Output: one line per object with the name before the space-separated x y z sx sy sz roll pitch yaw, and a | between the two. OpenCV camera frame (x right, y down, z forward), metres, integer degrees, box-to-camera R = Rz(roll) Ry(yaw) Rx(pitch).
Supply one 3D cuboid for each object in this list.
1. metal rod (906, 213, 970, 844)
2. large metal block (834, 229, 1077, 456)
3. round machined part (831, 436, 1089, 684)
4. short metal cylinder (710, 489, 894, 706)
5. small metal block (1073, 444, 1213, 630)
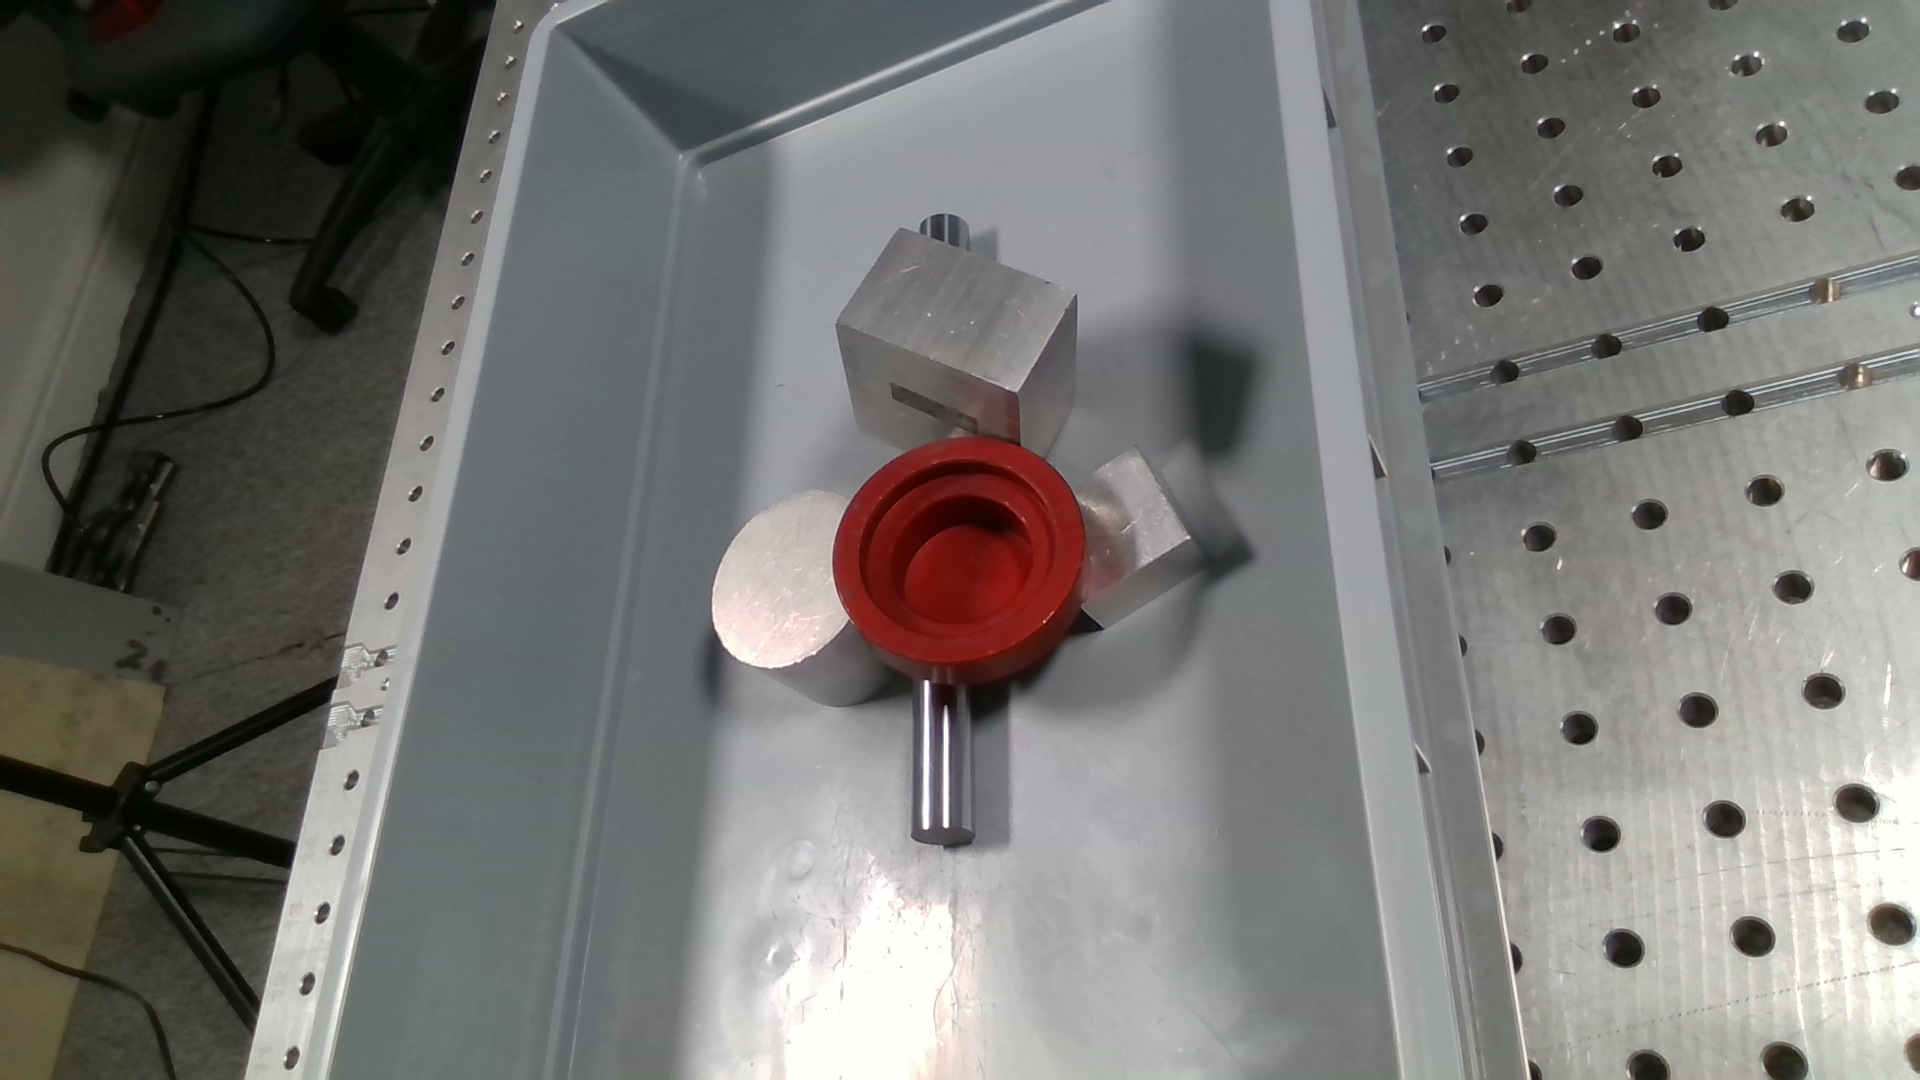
metal rod | -0.009 -0.018 0.597 0.025 0.025 0.299 -15 59 25
large metal block | 0.001 -0.071 0.567 0.080 0.080 0.050 23 66 15
round machined part | 0.002 0.011 0.541 0.098 0.042 0.098 -5 61 10
short metal cylinder | -0.060 0.025 0.590 0.080 0.050 0.080 -14 59 25
small metal block | 0.064 -0.001 0.546 0.050 0.025 0.050 -33 53 13
